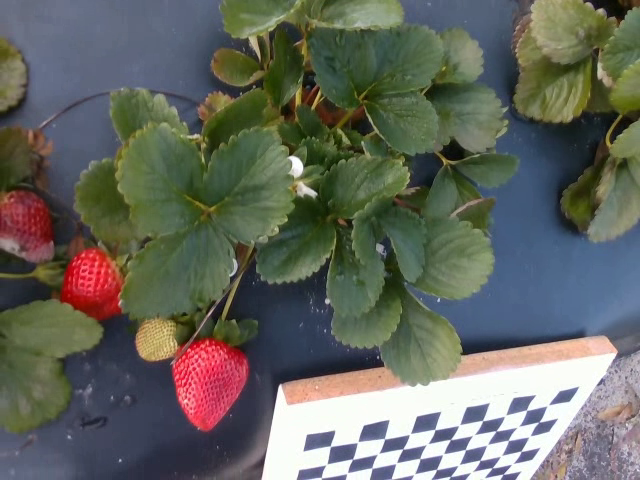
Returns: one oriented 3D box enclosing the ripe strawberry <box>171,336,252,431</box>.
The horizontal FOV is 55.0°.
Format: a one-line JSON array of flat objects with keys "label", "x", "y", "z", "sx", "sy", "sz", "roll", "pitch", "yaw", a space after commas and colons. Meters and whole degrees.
[{"label": "ripe strawberry", "x": -0.032, "y": 0.044, "z": 0.172, "sx": 0.022, "sy": 0.030, "sz": 0.025, "roll": 1, "pitch": -39, "yaw": 11}]
